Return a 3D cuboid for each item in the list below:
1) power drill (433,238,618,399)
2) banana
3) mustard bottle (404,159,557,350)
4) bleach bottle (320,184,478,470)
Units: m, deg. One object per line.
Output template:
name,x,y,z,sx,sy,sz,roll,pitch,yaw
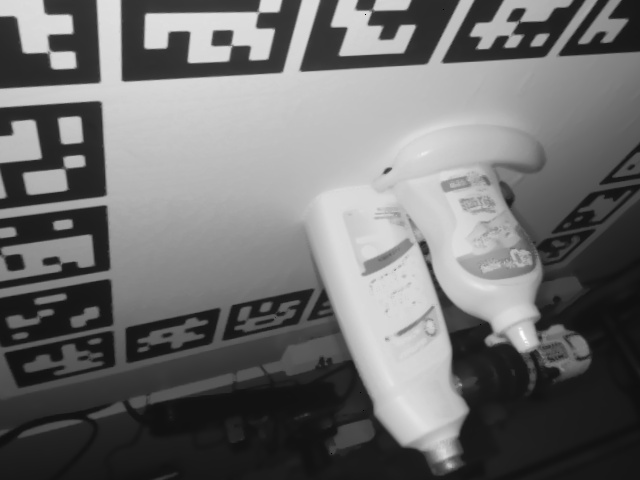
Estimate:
power drill,0.180,0.061,0.665,0.187,0.187,0.056,1,143,-30
banana,0.149,-0.080,0.636,0.200,0.039,0.073,-8,145,-27
mustard bottle,0.151,0.008,0.606,0.097,0.192,0.057,-7,146,-21
bleach bottle,0.081,0.071,0.611,0.104,0.251,0.067,-7,151,-24
